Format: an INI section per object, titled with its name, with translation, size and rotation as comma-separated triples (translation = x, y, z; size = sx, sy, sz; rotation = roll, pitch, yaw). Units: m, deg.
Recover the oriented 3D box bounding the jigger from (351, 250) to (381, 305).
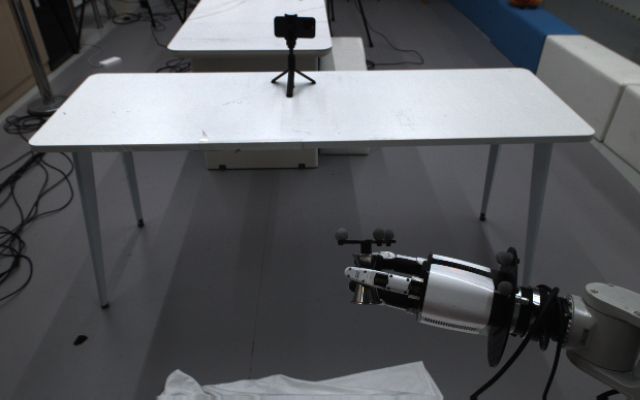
[jigger]
translation = 0.064, 0.109, 0.679
size = 0.043, 0.071, 0.043
rotation = 1, -5, 0
